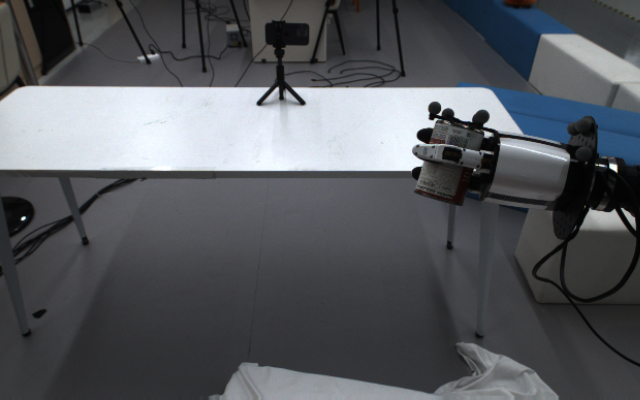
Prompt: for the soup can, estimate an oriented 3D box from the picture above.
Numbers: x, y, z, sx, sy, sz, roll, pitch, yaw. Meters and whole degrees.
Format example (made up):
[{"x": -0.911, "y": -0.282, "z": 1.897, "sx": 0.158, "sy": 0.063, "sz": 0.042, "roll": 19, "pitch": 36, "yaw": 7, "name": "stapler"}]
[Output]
[{"x": 0.175, "y": -0.050, "z": 0.654, "sx": 0.067, "sy": 0.101, "sz": 0.067, "roll": 15, "pitch": 7, "yaw": -2, "name": "soup can"}]
